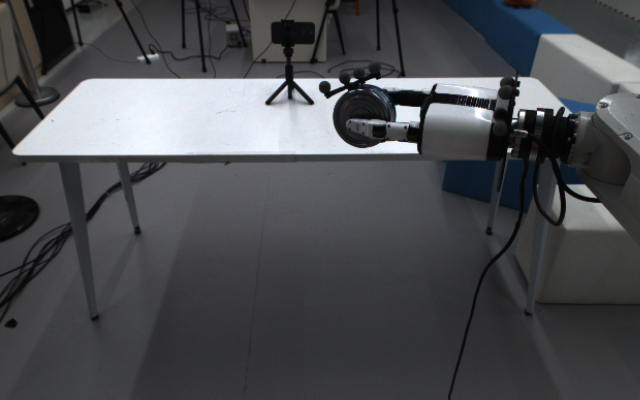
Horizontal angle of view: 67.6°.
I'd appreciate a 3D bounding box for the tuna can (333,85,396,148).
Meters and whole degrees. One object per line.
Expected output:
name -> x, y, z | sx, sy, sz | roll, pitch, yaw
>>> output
tuna can -> 0.066, -0.113, 0.686 | 0.085, 0.085, 0.034 | 15, 29, 17
